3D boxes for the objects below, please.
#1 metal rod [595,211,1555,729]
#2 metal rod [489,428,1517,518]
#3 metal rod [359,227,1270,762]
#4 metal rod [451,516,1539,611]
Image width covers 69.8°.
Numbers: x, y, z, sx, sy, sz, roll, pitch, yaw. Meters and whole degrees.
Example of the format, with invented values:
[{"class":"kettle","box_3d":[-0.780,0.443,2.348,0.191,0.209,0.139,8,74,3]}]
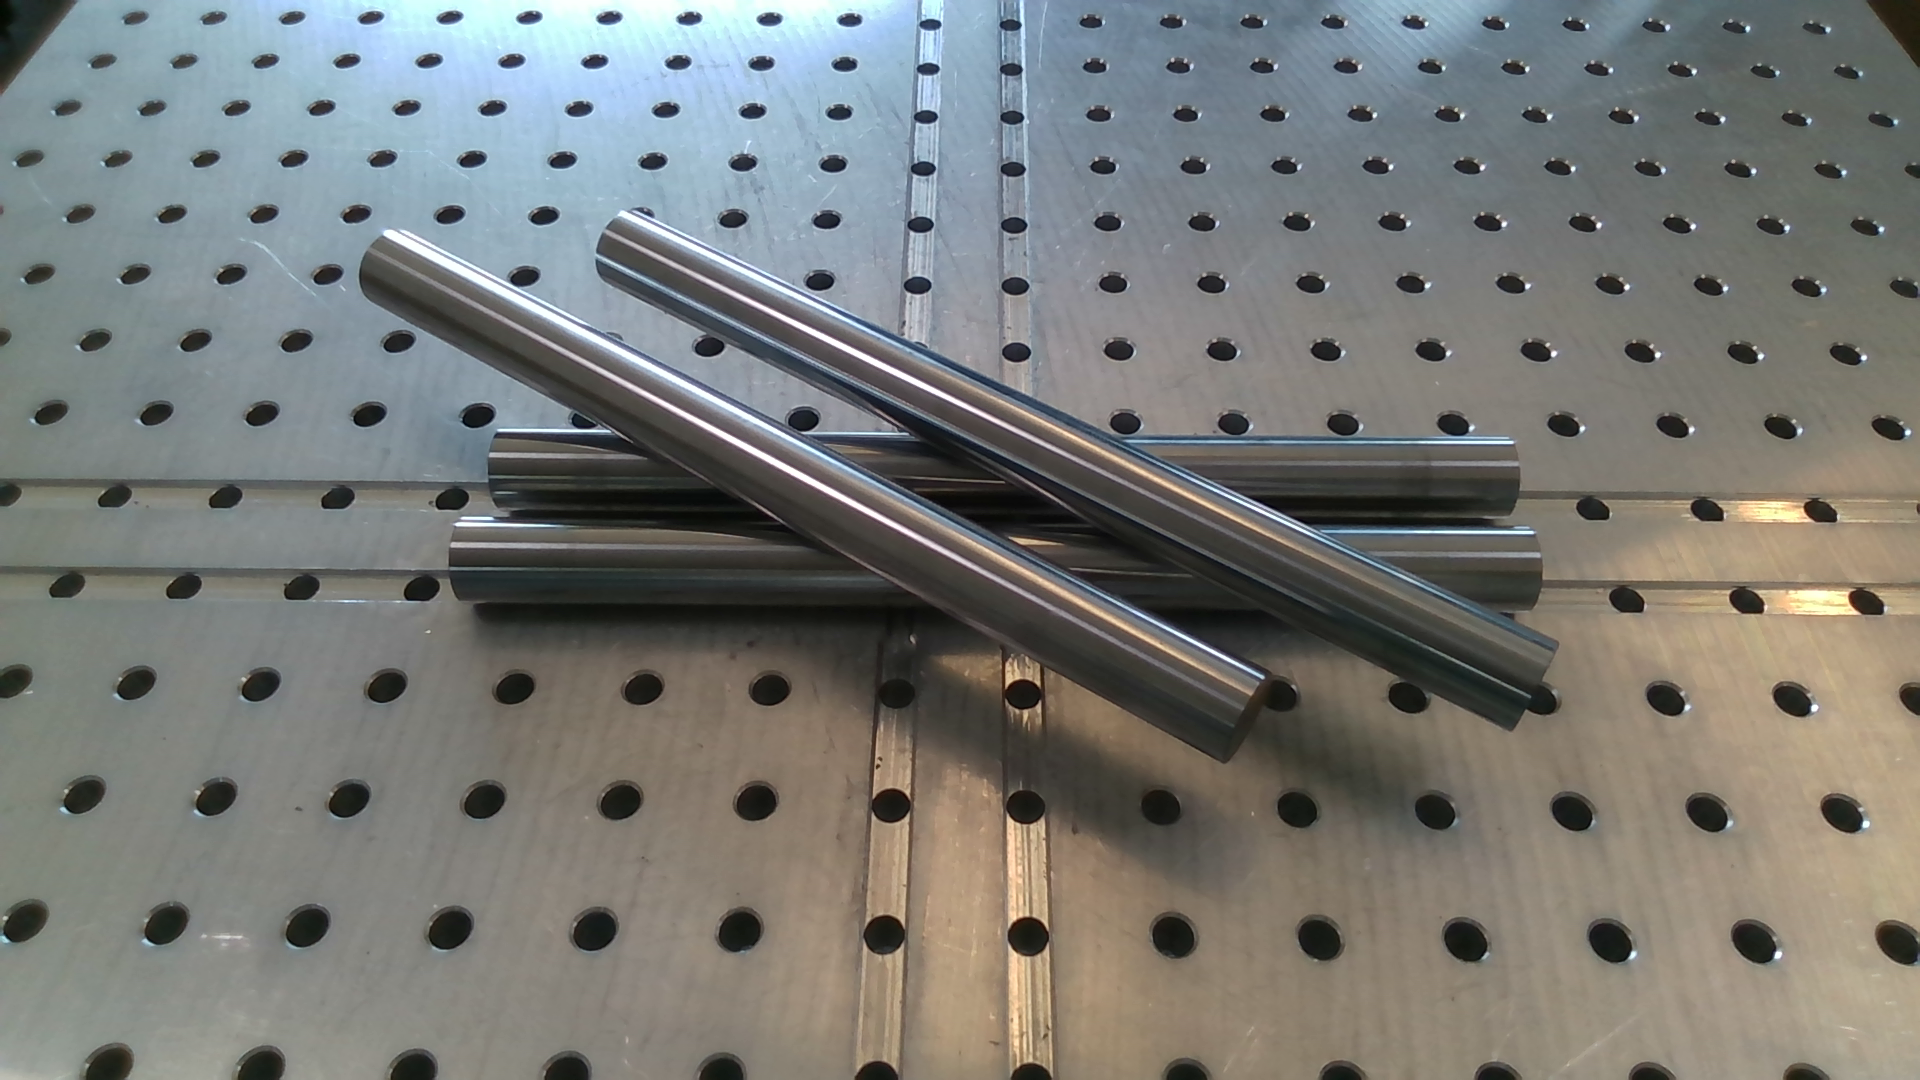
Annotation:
[{"class":"metal rod","box_3d":[0.015,-0.030,0.390,0.300,0.025,0.025,28,55,21]},{"class":"metal rod","box_3d":[0.012,-0.020,0.414,0.300,0.025,0.025,1,50,0]},{"class":"metal rod","box_3d":[-0.056,-0.022,0.383,0.300,0.025,0.025,27,55,21]},{"class":"metal rod","box_3d":[0.009,0.007,0.392,0.300,0.025,0.025,0,50,0]}]
